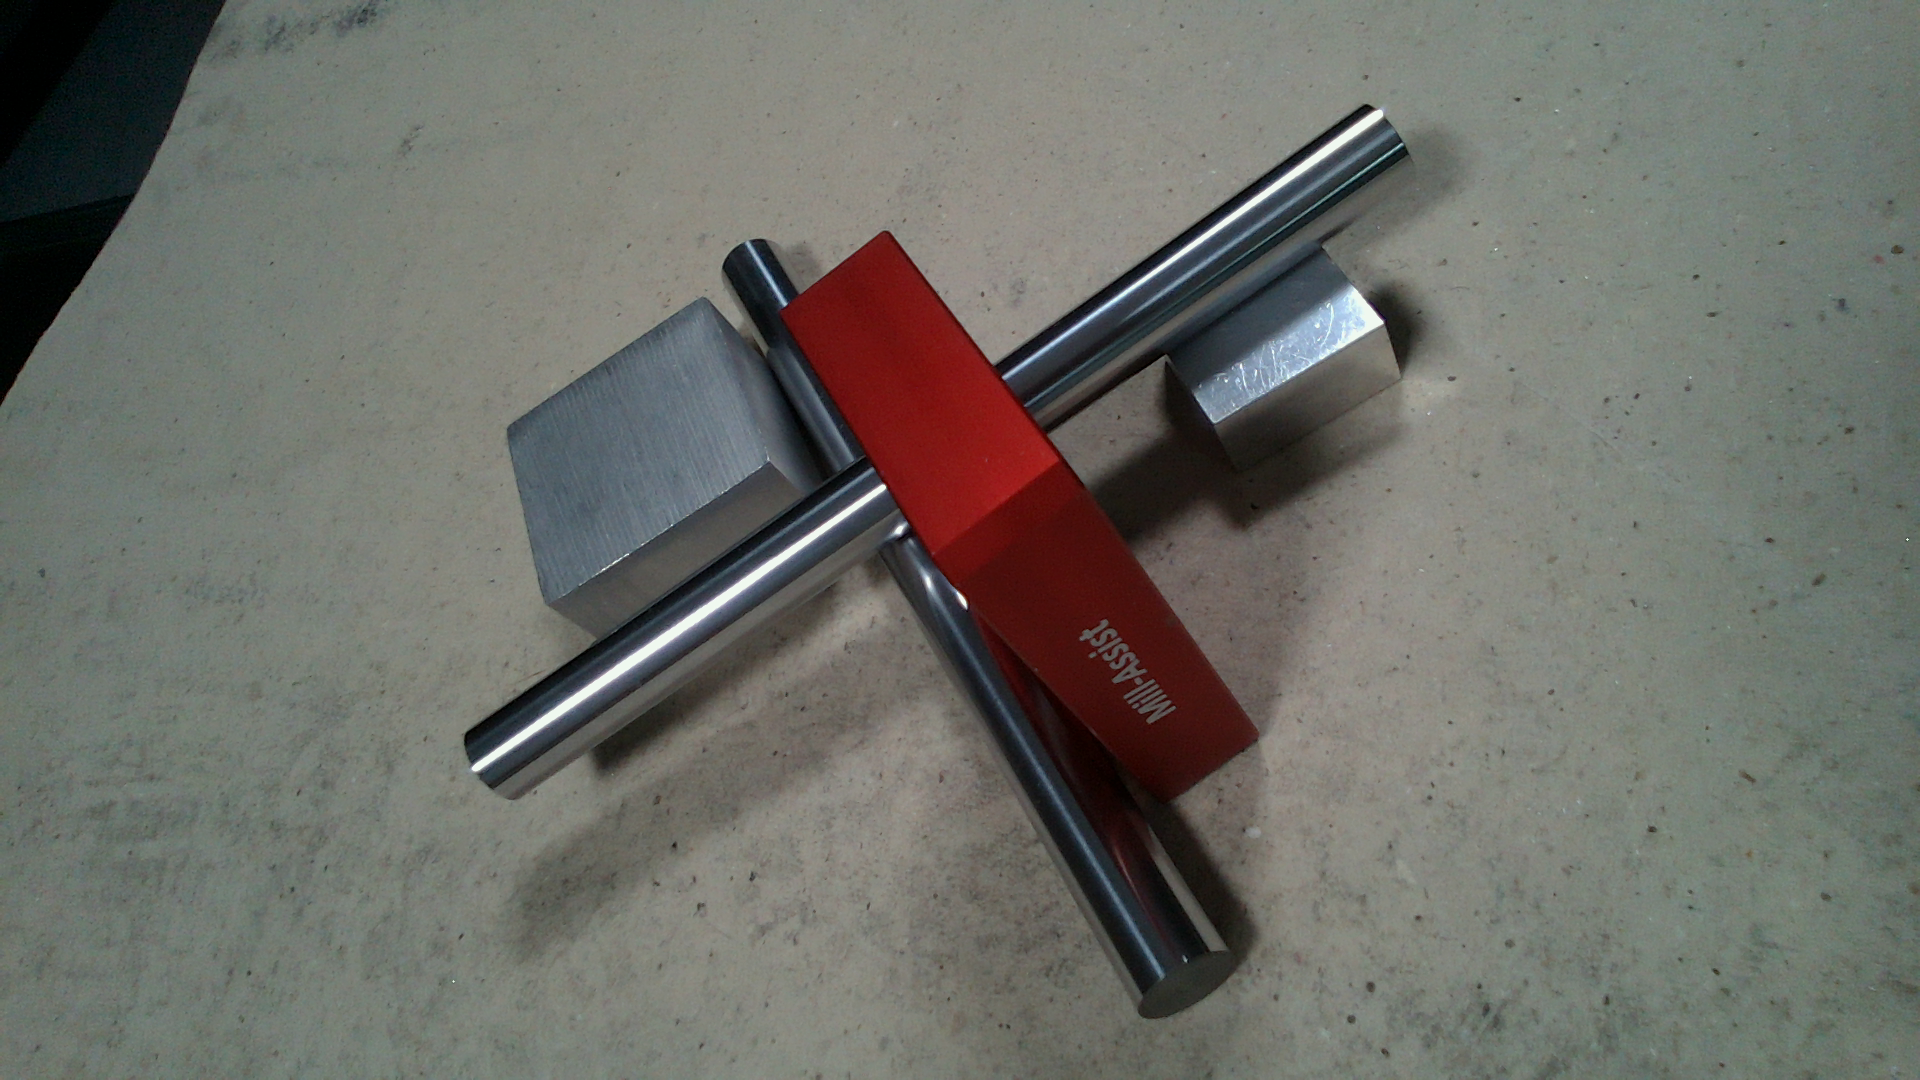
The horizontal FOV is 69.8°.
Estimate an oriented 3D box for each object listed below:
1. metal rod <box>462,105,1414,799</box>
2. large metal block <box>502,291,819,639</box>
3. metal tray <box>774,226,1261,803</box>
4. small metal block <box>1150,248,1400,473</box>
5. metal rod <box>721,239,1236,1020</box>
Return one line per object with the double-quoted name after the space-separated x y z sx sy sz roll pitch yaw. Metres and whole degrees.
-0.011 -0.020 0.379 0.300 0.025 0.025 -34 51 6 "metal rod"
-0.091 -0.018 0.437 0.080 0.050 0.080 -32 51 8 "large metal block"
0.017 -0.002 0.317 0.030 0.130 0.090 -37 50 5 "metal tray"
0.085 -0.055 0.382 0.050 0.025 0.050 -31 51 8 "small metal block"
-0.012 0.001 0.400 0.025 0.025 0.299 -36 51 4 "metal rod"
